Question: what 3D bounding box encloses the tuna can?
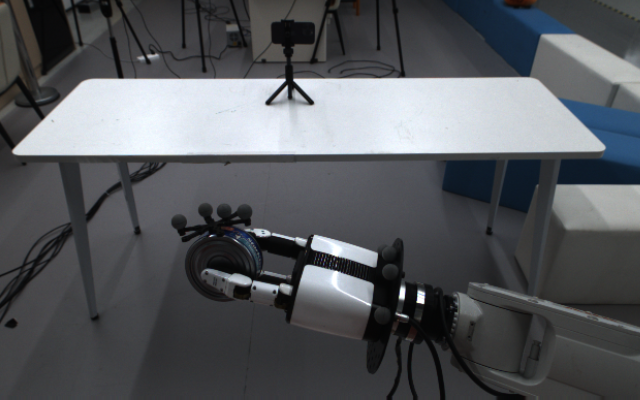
[{"bbox_3d":[-0.108,0.080,0.561,0.085,0.085,0.034,6,18,5],"label":"tuna can"}]
